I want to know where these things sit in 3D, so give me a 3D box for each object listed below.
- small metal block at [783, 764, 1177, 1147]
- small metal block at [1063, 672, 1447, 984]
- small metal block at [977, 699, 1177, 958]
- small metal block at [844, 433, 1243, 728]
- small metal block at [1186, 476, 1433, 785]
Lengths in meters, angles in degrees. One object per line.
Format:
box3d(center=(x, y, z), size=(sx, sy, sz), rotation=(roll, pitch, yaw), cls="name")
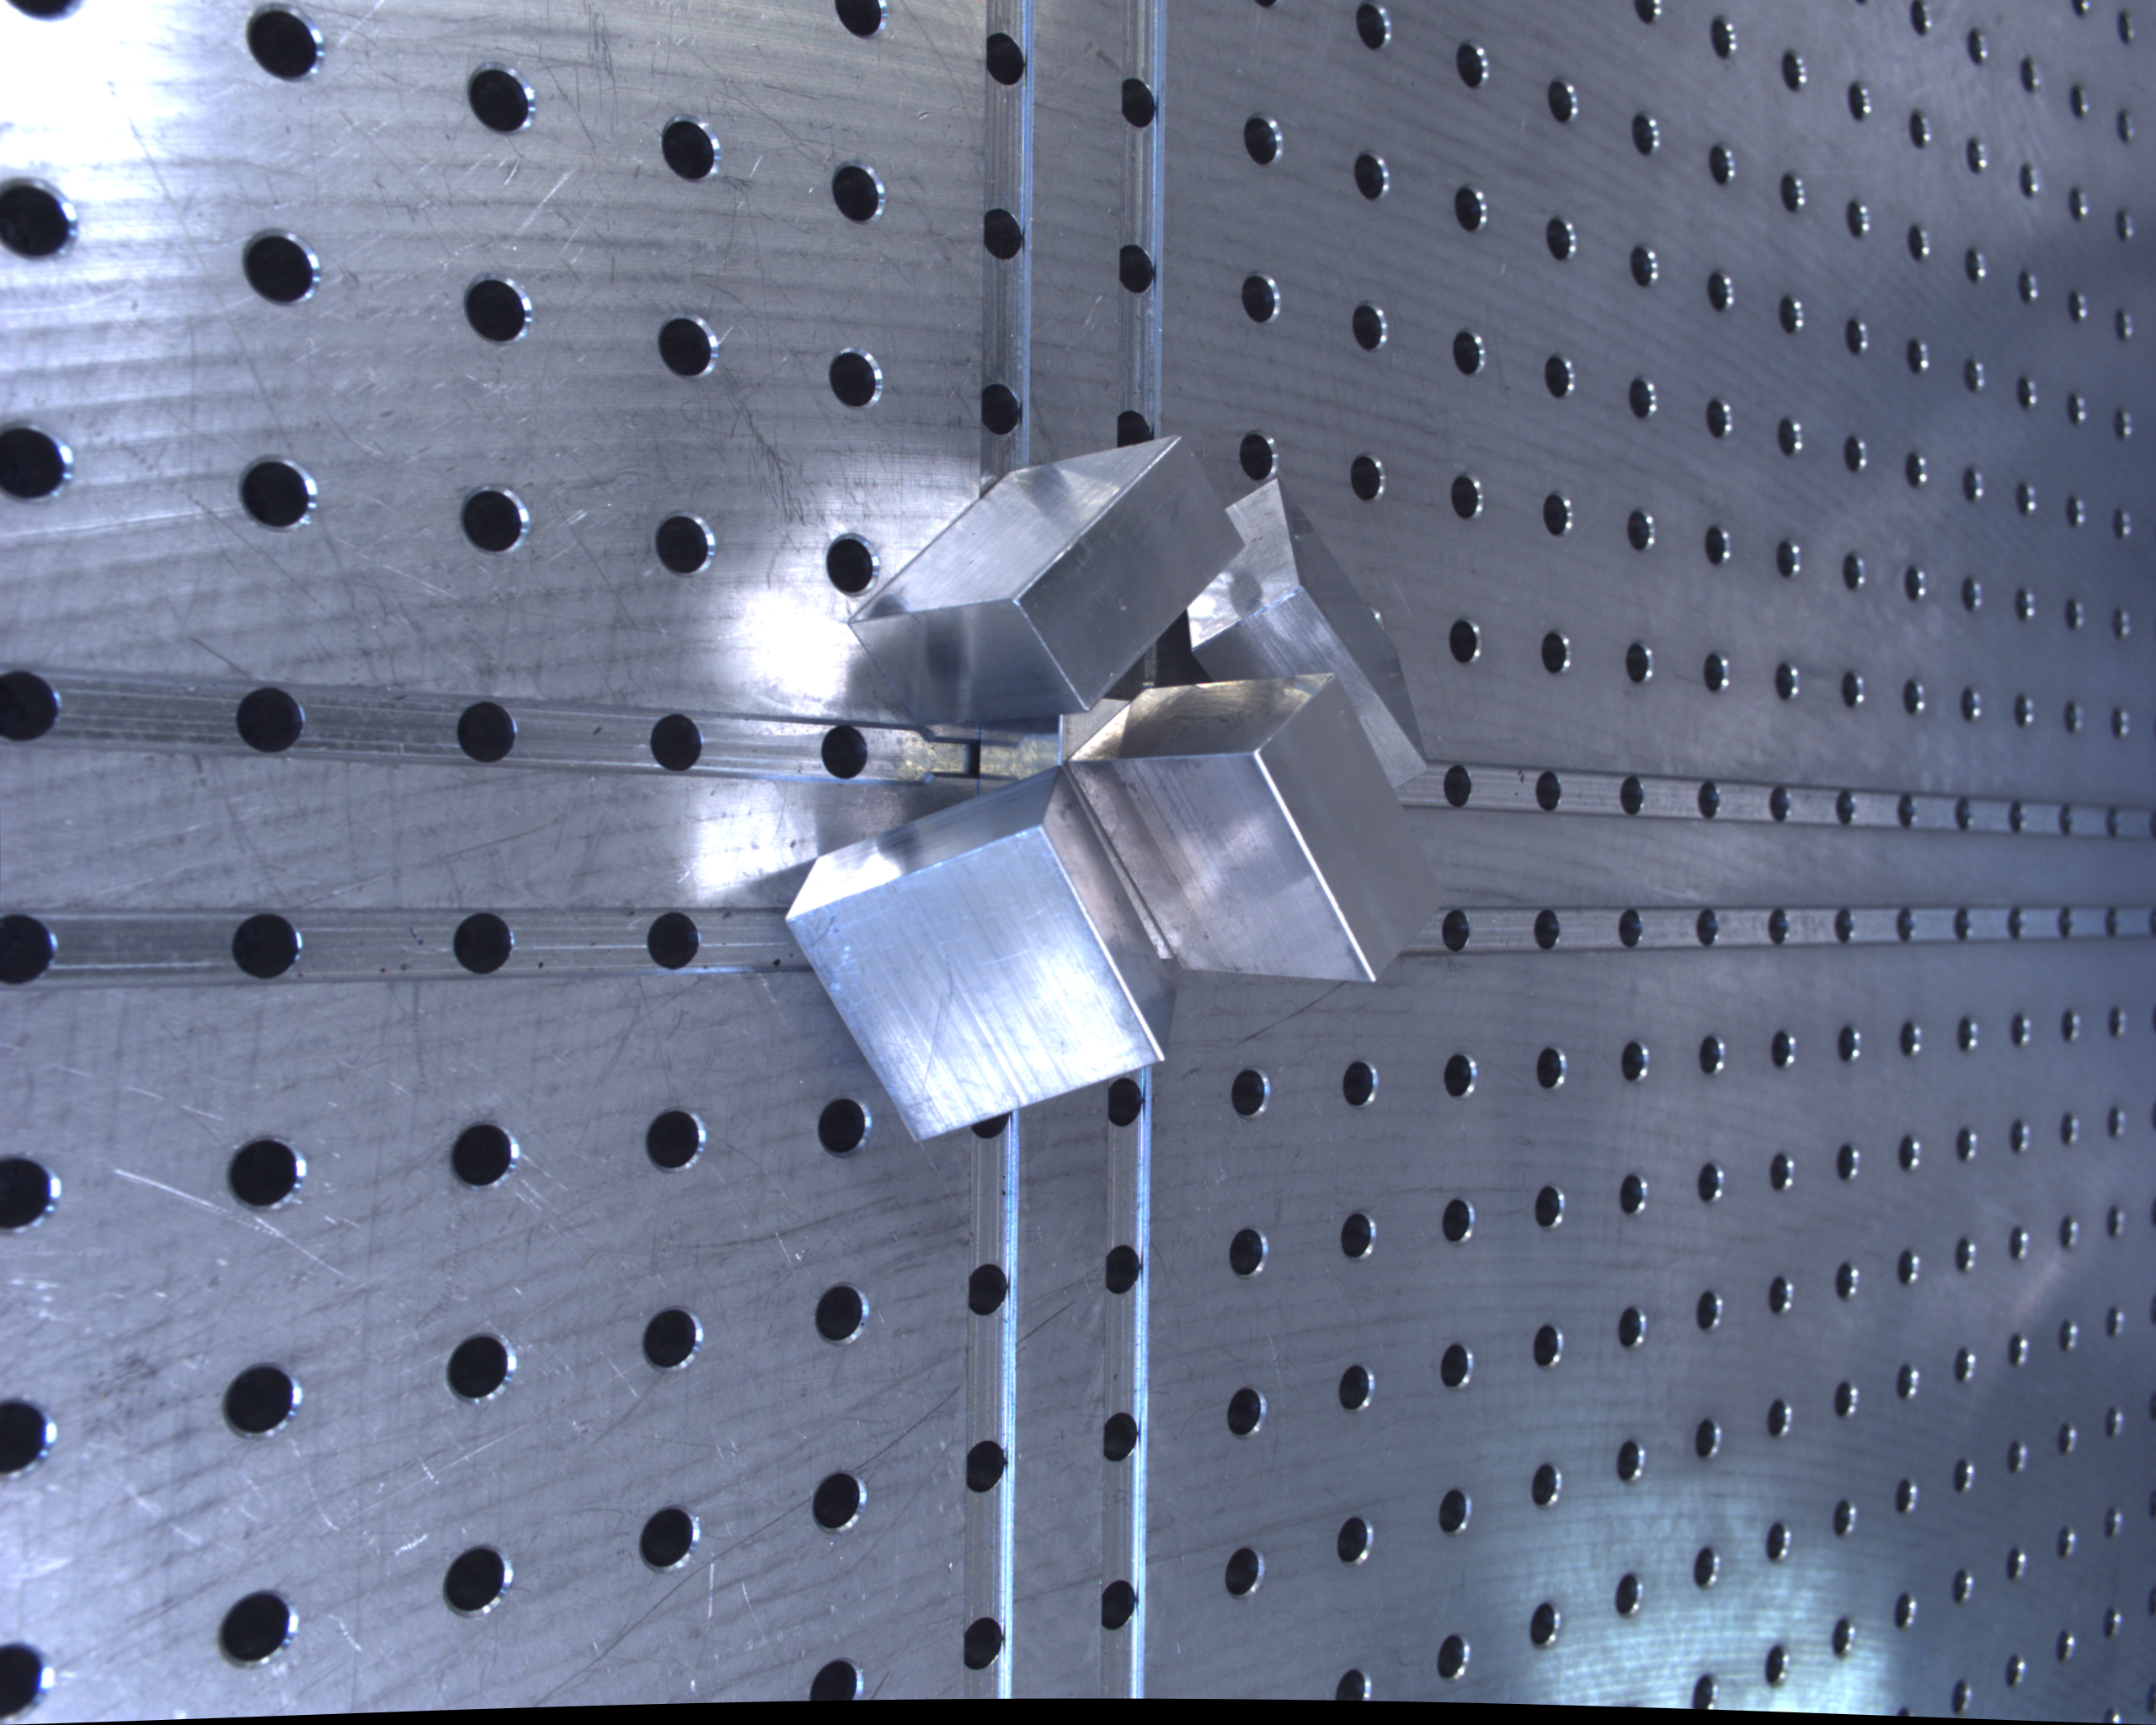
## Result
box3d(center=(-0.016, 0.017, 0.374), size=(0.050, 0.050, 0.025), rotation=(63, 18, -21), cls="small metal block")
box3d(center=(0.032, -0.006, 0.386), size=(0.025, 0.050, 0.050), rotation=(-44, 117, -32), cls="small metal block")
box3d(center=(0.007, -0.006, 0.414), size=(0.050, 0.025, 0.050), rotation=(1, 89, -41), cls="small metal block")
box3d(center=(-0.007, -0.051, 0.386), size=(0.050, 0.050, 0.025), rotation=(-48, 119, -29), cls="small metal block")
box3d(center=(0.046, -0.044, 0.429), size=(0.050, 0.025, 0.050), rotation=(50, 21, -28), cls="small metal block")
